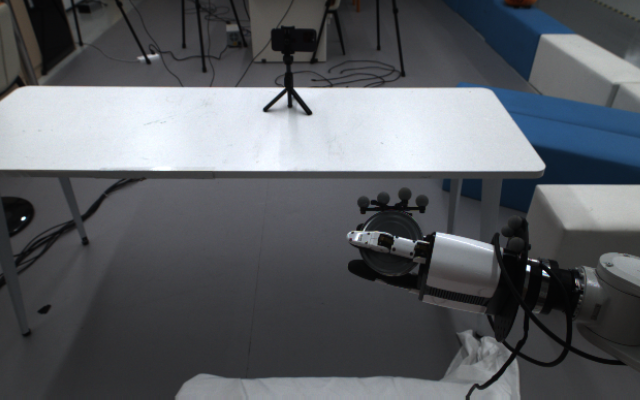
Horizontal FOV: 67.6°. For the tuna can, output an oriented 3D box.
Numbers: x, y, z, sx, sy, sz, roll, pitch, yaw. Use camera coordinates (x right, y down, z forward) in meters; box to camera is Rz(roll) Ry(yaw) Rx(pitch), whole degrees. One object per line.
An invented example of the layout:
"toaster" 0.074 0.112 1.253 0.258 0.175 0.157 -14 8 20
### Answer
"tuna can" 0.096 0.057 0.646 0.085 0.034 0.085 -5 71 15
